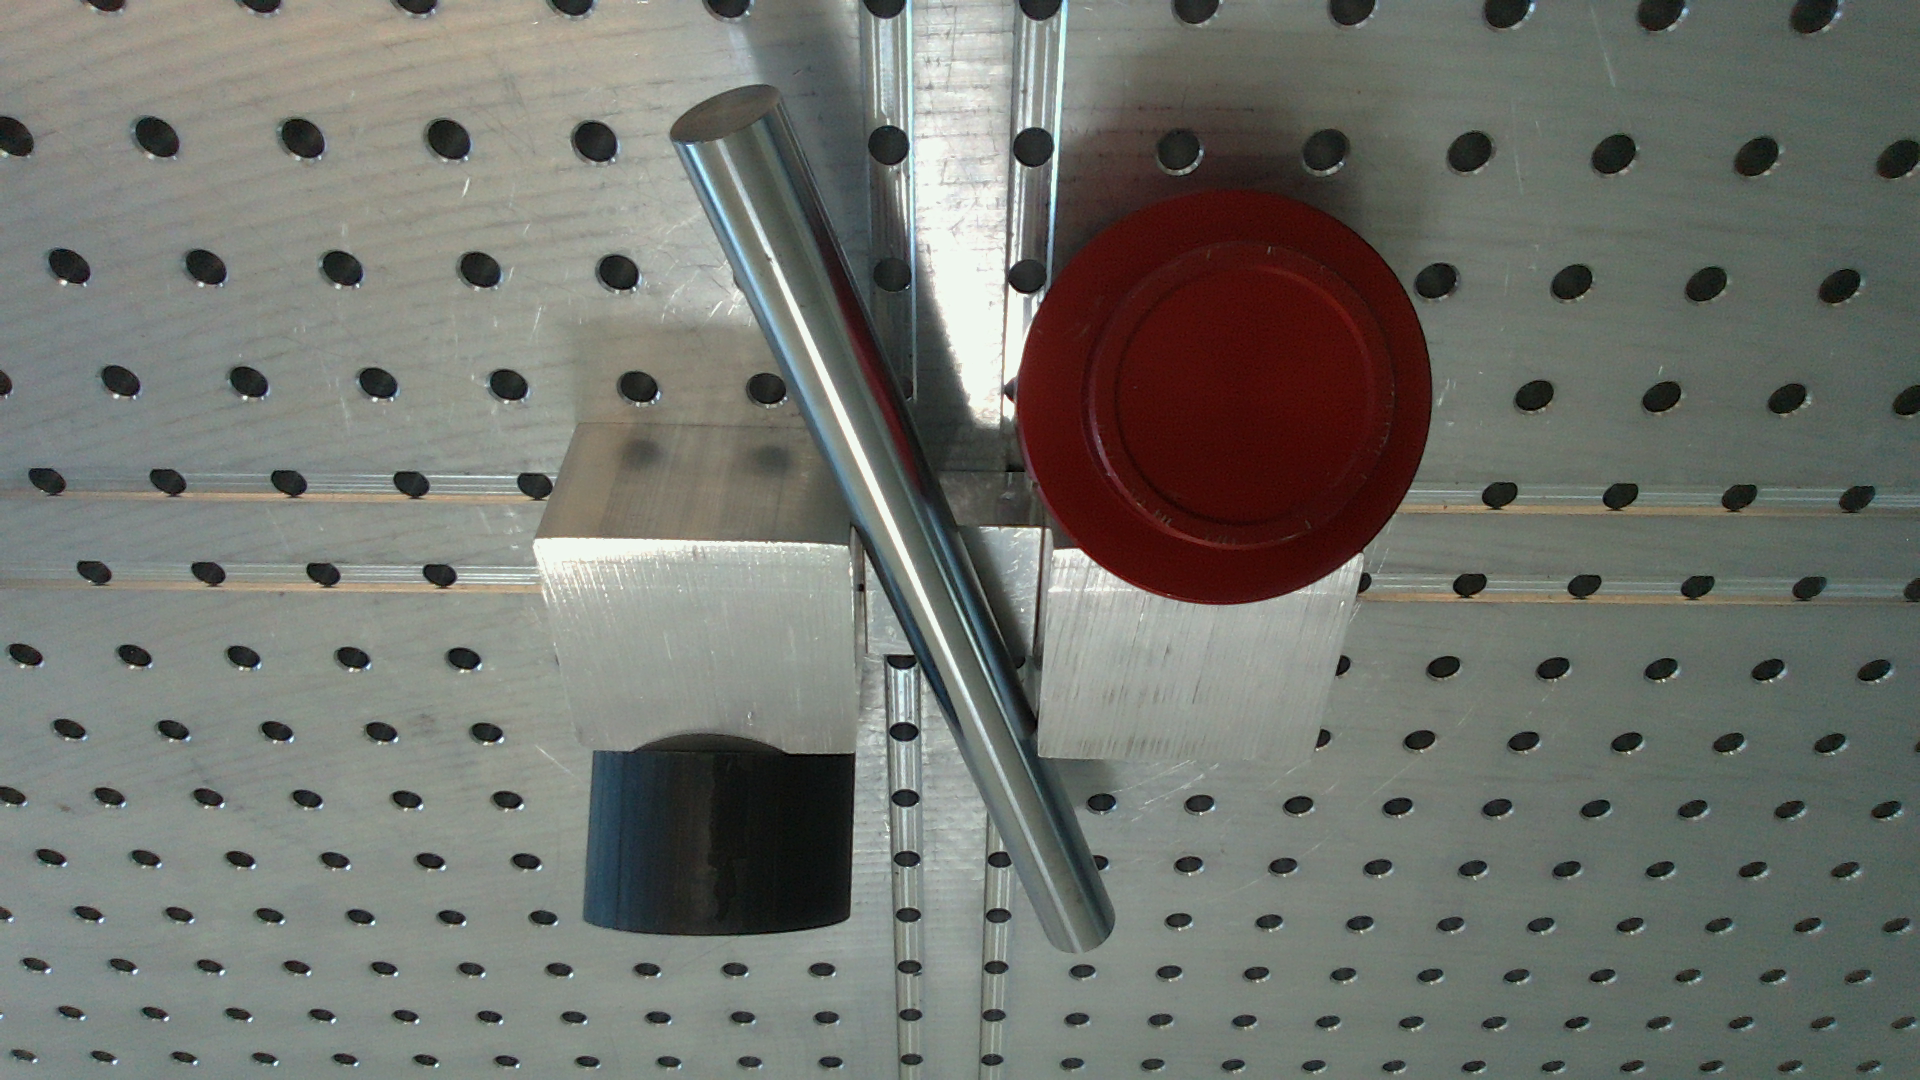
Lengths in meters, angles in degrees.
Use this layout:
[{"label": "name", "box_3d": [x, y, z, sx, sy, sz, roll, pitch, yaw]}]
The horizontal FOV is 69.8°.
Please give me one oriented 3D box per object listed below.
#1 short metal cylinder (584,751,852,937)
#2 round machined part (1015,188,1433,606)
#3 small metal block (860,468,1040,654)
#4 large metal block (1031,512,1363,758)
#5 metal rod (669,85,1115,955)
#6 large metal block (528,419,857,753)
[{"label": "short metal cylinder", "box_3d": [-0.073, 0.090, 0.425, 0.080, 0.050, 0.080, 1, 173, 0]}, {"label": "round machined part", "box_3d": [0.063, -0.033, 0.323, 0.098, 0.042, 0.098, 0, 95, -1]}, {"label": "small metal block", "box_3d": [-0.003, 0.006, 0.400, 0.050, 0.025, 0.050, 0, 130, -1]}, {"label": "large metal block", "box_3d": [0.063, 0.016, 0.392, 0.080, 0.050, 0.080, 1, 130, -1]}, {"label": "metal rod", "box_3d": [-0.004, 0.021, 0.377, 0.025, 0.025, 0.300, -13, 129, 11]}, {"label": "large metal block", "box_3d": [-0.069, 0.014, 0.389, 0.080, 0.050, 0.080, 1, 130, -1]}]
